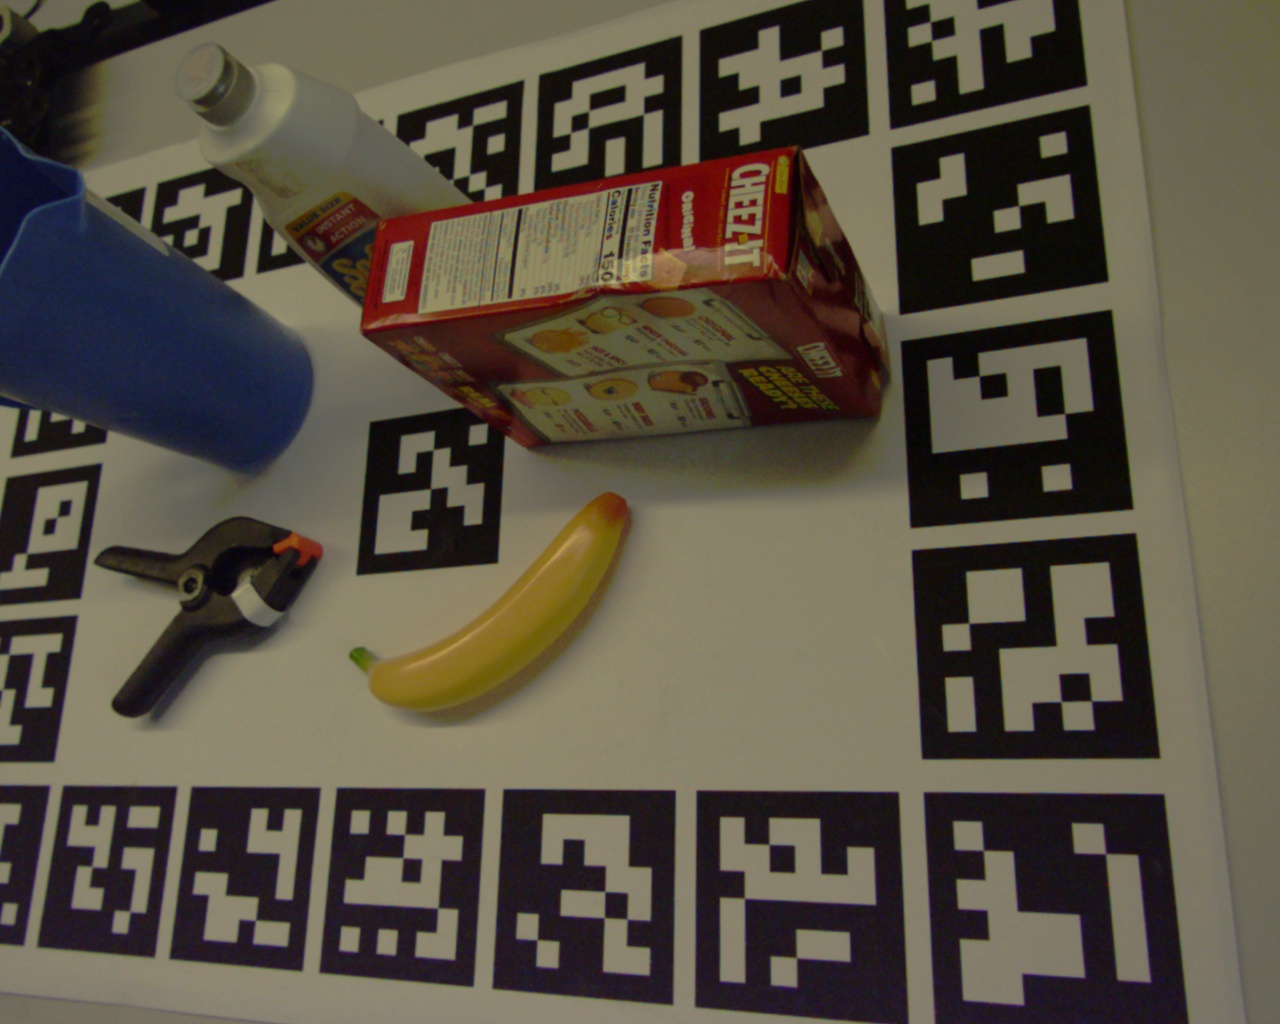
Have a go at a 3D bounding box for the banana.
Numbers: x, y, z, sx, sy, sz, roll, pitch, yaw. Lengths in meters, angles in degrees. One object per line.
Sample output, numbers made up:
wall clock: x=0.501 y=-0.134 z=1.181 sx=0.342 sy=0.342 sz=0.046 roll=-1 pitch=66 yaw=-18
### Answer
banana: x=-0.073 y=0.053 z=0.682 sx=0.198 sy=0.038 sz=0.075 roll=-39 pitch=61 yaw=10

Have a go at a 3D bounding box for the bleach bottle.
bleach bottle: x=-0.153 y=-0.162 z=0.663 sx=0.104 sy=0.247 sz=0.068 roll=-6 pitch=70 yaw=24

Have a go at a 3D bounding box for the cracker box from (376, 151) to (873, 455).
cracker box: x=-0.002 y=-0.098 z=0.601 sx=0.216 sy=0.162 sz=0.072 roll=-5 pitch=69 yaw=26

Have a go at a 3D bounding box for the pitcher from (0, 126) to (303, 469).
pitcher: x=-0.334 y=-0.110 z=0.711 sx=0.190 sy=0.240 sz=0.134 roll=-24 pitch=64 yaw=14

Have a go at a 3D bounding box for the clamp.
clamp: x=-0.277 y=0.050 z=0.773 sx=0.166 sy=0.036 sz=0.122 roll=-22 pitch=64 yaw=16
